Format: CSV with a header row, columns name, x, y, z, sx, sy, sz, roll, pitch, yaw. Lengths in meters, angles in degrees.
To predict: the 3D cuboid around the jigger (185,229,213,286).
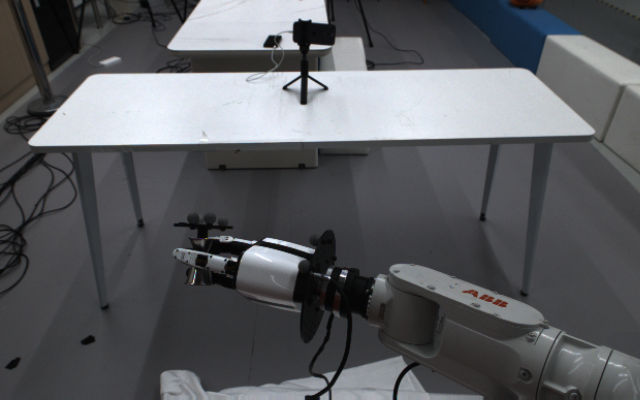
name,x,y,z,sx,sy,sz,roll,pitch,yaw
jigger,-0.175,0.090,0.713,0.043,0.071,0.043,2,-6,0
